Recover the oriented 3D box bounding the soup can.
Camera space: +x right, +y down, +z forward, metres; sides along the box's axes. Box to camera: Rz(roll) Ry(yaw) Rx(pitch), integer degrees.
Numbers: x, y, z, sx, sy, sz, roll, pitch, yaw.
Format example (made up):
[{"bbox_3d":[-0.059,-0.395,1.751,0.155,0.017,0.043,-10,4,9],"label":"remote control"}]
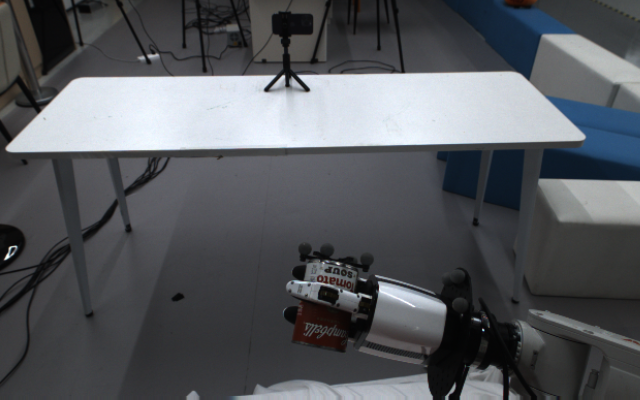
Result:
[{"bbox_3d":[0.009,0.130,0.591,0.067,0.067,0.101,8,71,9],"label":"soup can"}]
